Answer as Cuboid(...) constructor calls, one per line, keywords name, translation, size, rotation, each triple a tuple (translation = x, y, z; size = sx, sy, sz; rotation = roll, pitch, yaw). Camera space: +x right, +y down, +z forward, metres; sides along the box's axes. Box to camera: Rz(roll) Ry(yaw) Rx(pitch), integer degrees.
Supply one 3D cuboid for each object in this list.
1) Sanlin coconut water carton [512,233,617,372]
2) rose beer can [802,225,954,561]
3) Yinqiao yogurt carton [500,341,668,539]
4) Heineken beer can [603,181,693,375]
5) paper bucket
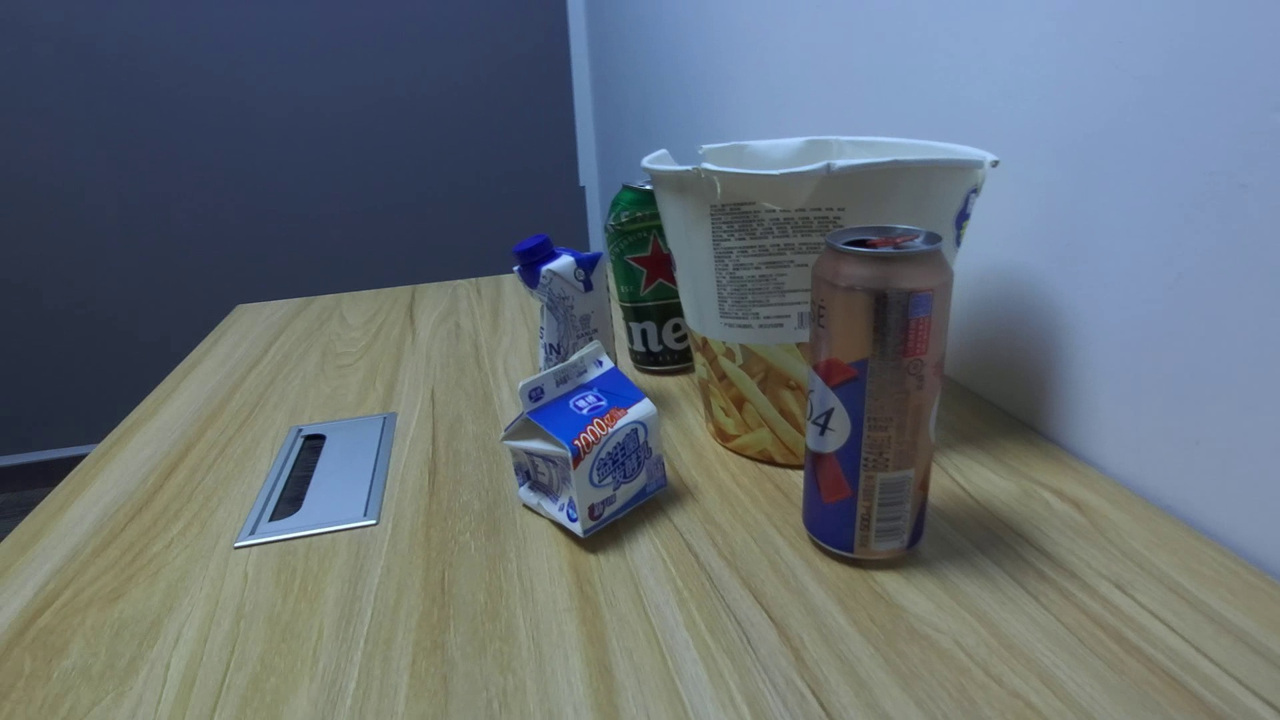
Cuboid(name="Sanlin coconut water carton", translation=(-0.052, -0.025, 0.535), size=(0.070, 0.144, 0.060), rotation=(-16, 22, -25))
Cuboid(name="rose beer can", translation=(0.121, 0.021, 0.367), size=(0.068, 0.169, 0.068), rotation=(-3, 23, 2))
Cuboid(name="Yinqiao yogurt carton", translation=(-0.040, 0.044, 0.427), size=(0.080, 0.097, 0.075), rotation=(7, 24, 43))
Cuboid(name="Heineken beer can", translation=(0.025, -0.071, 0.610), size=(0.077, 0.164, 0.066), rotation=(4, 20, 31))
Cuboid(name="paper bucket", translation=(0.111, -0.048, 0.491), size=(0.203, 0.197, 0.145), rotation=(-4, 22, -3))
